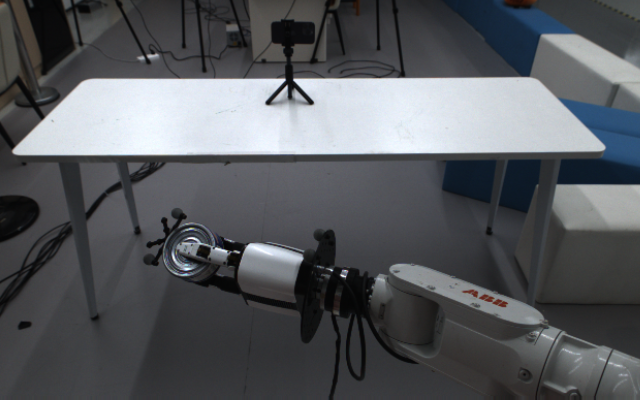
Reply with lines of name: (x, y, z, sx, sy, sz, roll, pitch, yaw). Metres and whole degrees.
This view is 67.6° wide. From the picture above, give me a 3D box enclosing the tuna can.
tuna can: (-0.186, 0.077, 0.716, 0.085, 0.034, 0.085, -3, 71, 10)
